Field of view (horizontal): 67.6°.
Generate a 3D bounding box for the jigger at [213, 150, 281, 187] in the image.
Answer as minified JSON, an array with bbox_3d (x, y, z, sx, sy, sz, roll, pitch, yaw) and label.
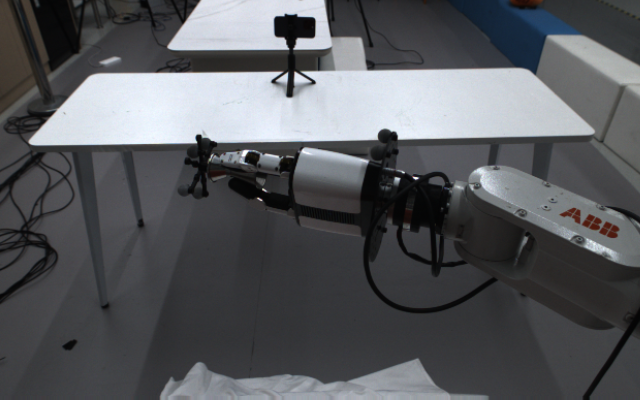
[{"bbox_3d":[-0.102,-0.043,0.633,0.071,0.043,0.043,6,35,13],"label":"jigger"}]
